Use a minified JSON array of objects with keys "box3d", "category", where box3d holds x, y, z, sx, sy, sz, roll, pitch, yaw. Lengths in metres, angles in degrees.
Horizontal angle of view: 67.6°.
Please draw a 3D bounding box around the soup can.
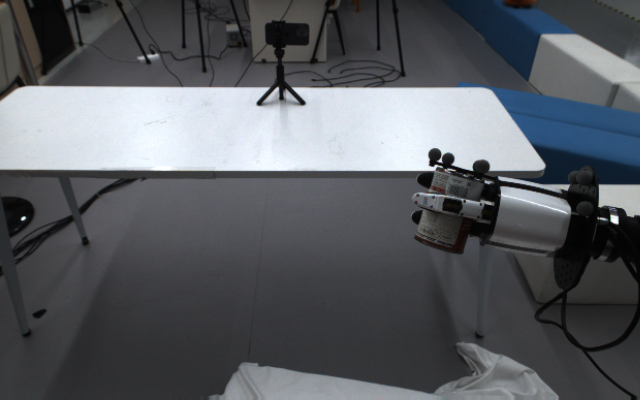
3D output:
[{"box3d":[0.175,0.012,0.650,0.067,0.101,0.067,15,7,-2],"category":"soup can"}]
